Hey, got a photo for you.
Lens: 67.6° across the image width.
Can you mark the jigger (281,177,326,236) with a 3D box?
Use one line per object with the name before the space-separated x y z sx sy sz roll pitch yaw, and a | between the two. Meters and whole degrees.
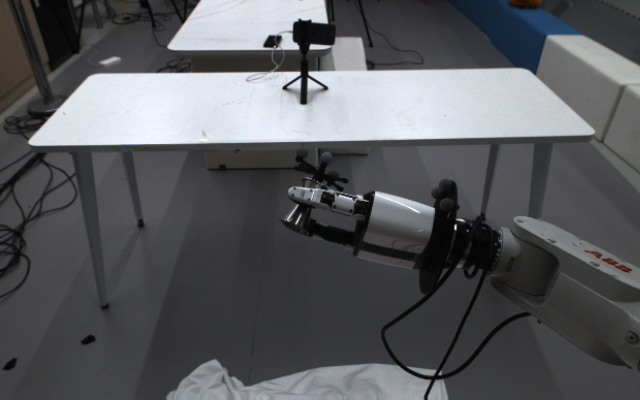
jigger | -0.022 0.005 0.659 0.043 0.043 0.071 20 73 24
